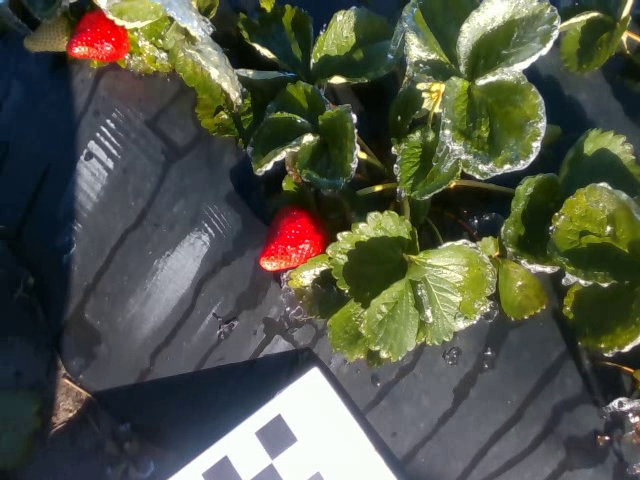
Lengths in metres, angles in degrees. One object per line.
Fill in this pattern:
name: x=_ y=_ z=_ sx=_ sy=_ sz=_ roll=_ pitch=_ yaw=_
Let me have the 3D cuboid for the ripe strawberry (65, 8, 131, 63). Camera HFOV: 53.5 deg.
ripe strawberry: x=-0.152 y=-0.134 z=0.419 sx=0.037 sy=0.040 sz=0.051 roll=37 pitch=37 yaw=14

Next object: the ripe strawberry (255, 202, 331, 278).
ripe strawberry: x=-0.020 y=0.003 z=0.371 sx=0.052 sy=0.042 sz=0.047 roll=-33 pitch=-18 yaw=-40
